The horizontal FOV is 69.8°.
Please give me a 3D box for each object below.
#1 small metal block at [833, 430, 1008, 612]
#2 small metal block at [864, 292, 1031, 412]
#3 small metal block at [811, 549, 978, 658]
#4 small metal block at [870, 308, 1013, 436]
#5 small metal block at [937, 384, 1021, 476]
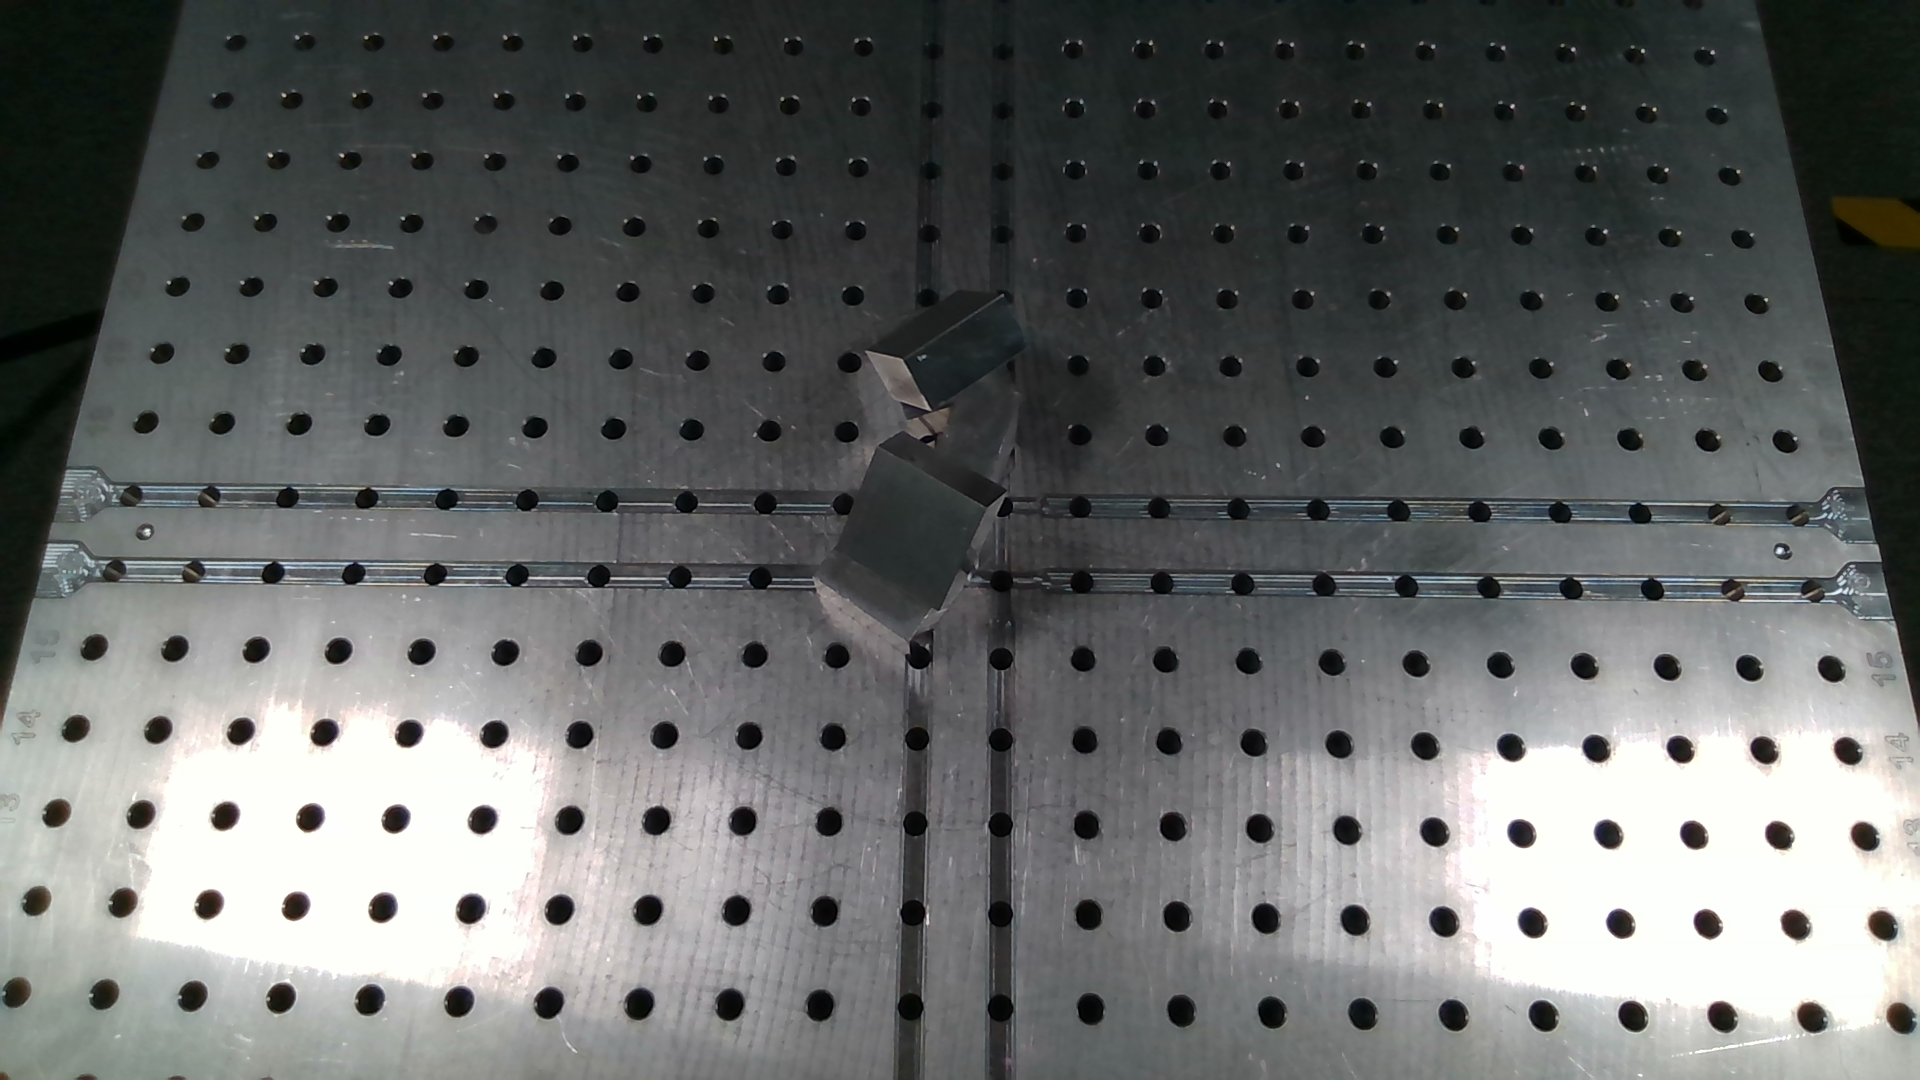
[{"bbox_3d":[-0.016,-0.008,0.552,0.050,0.025,0.050,30,117,10],"label":"small metal block"},{"bbox_3d":[-0.006,-0.081,0.577,0.050,0.050,0.025,-35,112,-12],"label":"small metal block"},{"bbox_3d":[-0.027,0.013,0.586,0.050,0.025,0.050,34,74,11],"label":"small metal block"},{"bbox_3d":[-0.008,-0.078,0.619,0.050,0.025,0.050,-19,71,-7],"label":"small metal block"},{"bbox_3d":[0.005,-0.034,0.590,0.025,0.050,0.050,18,71,6],"label":"small metal block"}]
